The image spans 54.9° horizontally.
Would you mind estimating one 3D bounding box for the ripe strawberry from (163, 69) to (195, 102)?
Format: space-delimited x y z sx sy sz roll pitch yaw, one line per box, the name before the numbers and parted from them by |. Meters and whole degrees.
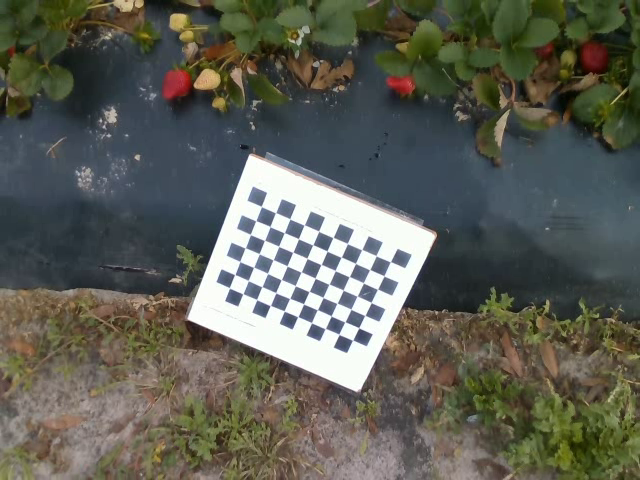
ripe strawberry | -0.211 -0.223 0.891 0.050 0.059 0.034 12 -33 5
